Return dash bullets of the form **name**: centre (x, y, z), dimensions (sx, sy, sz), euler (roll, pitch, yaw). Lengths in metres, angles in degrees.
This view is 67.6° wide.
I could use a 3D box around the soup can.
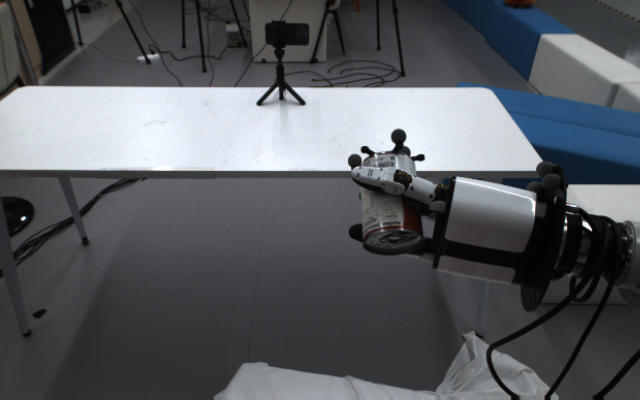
- **soup can**: centre (0.083, 0.004, 0.557), dimensions (0.067, 0.067, 0.101), euler (0, 63, -3)
